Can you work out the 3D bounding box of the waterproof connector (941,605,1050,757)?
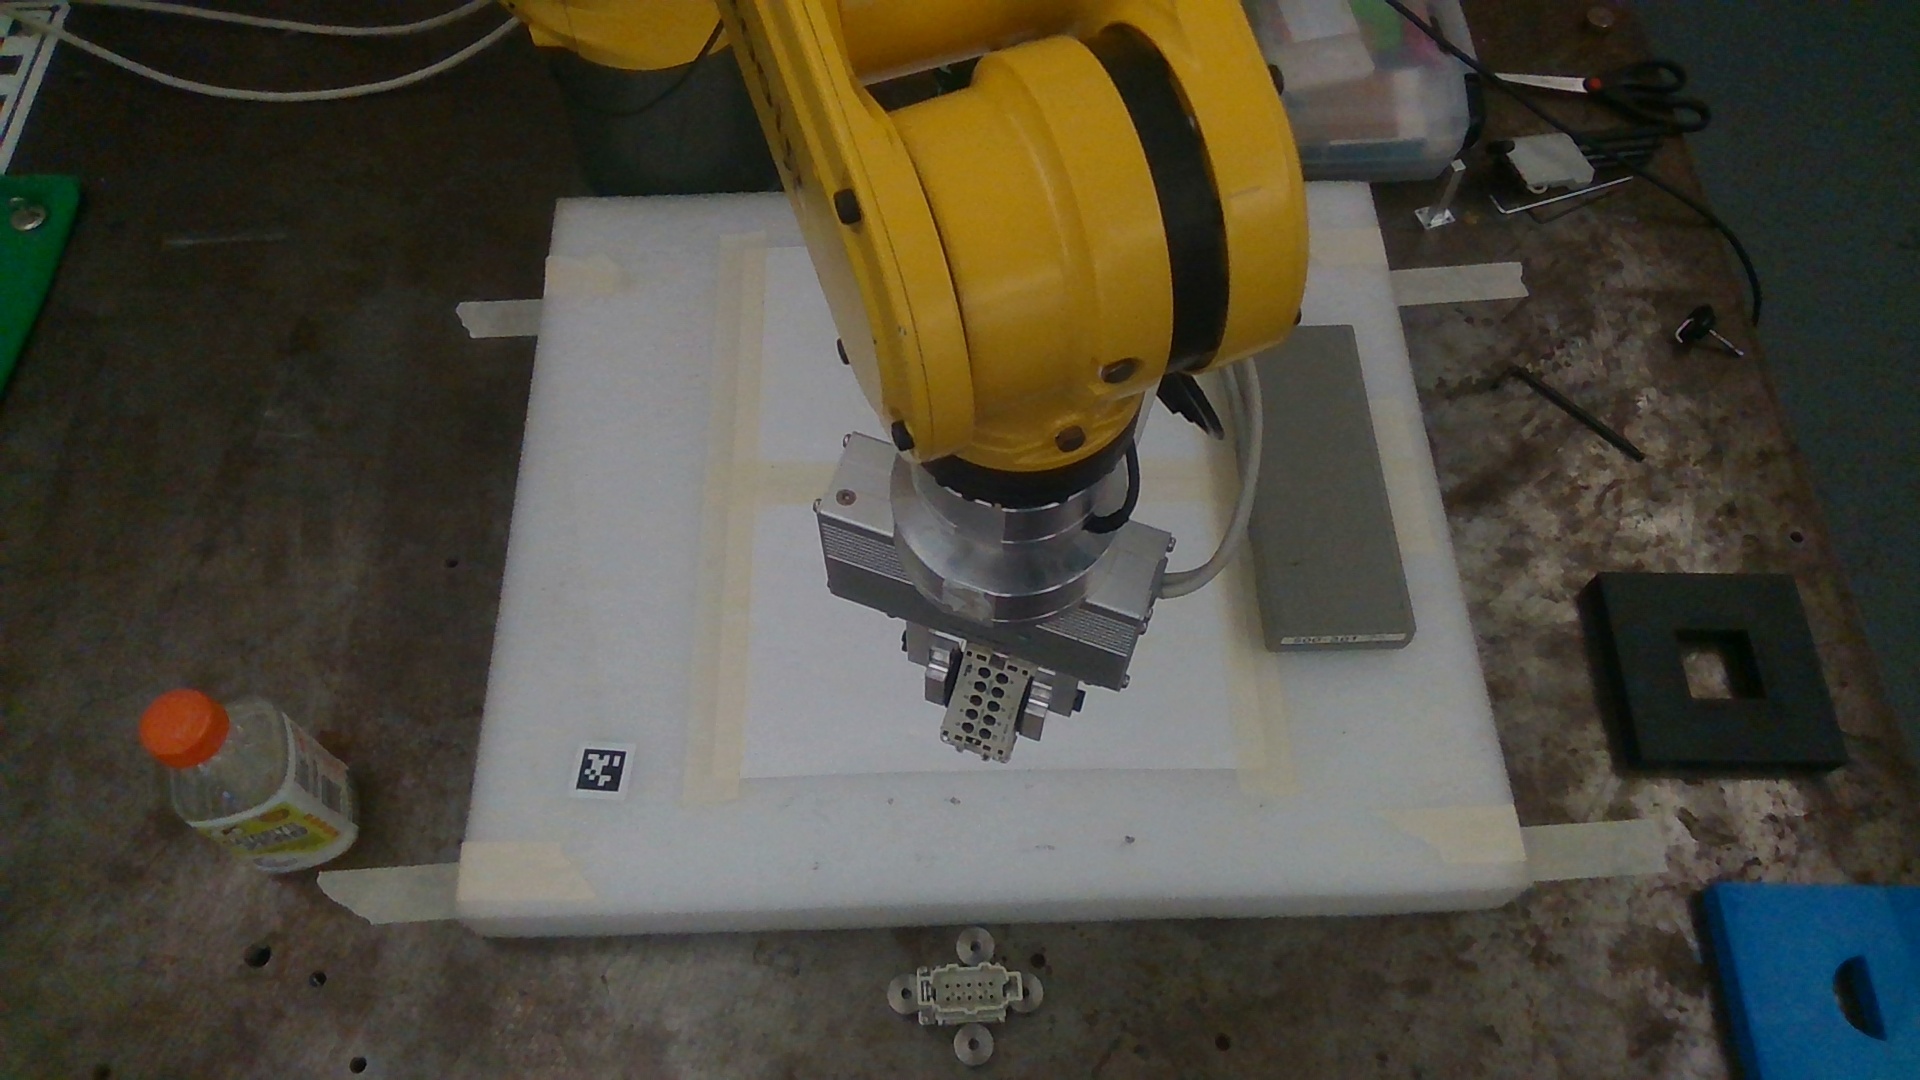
[{"bbox_3d":[0.016,0.067,0.652,0.037,0.038,0.069,16,97,4],"label":"waterproof connector"}]
